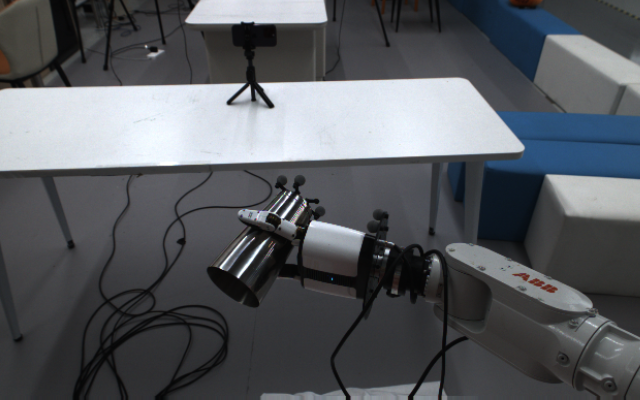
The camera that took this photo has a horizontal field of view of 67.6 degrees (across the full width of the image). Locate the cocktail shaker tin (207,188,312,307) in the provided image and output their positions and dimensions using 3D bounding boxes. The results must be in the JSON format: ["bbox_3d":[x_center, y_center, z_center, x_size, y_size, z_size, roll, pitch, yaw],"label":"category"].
[{"bbox_3d":[-0.080,0.061,0.729,0.093,0.093,0.170,19,55,23],"label":"cocktail shaker tin"}]
